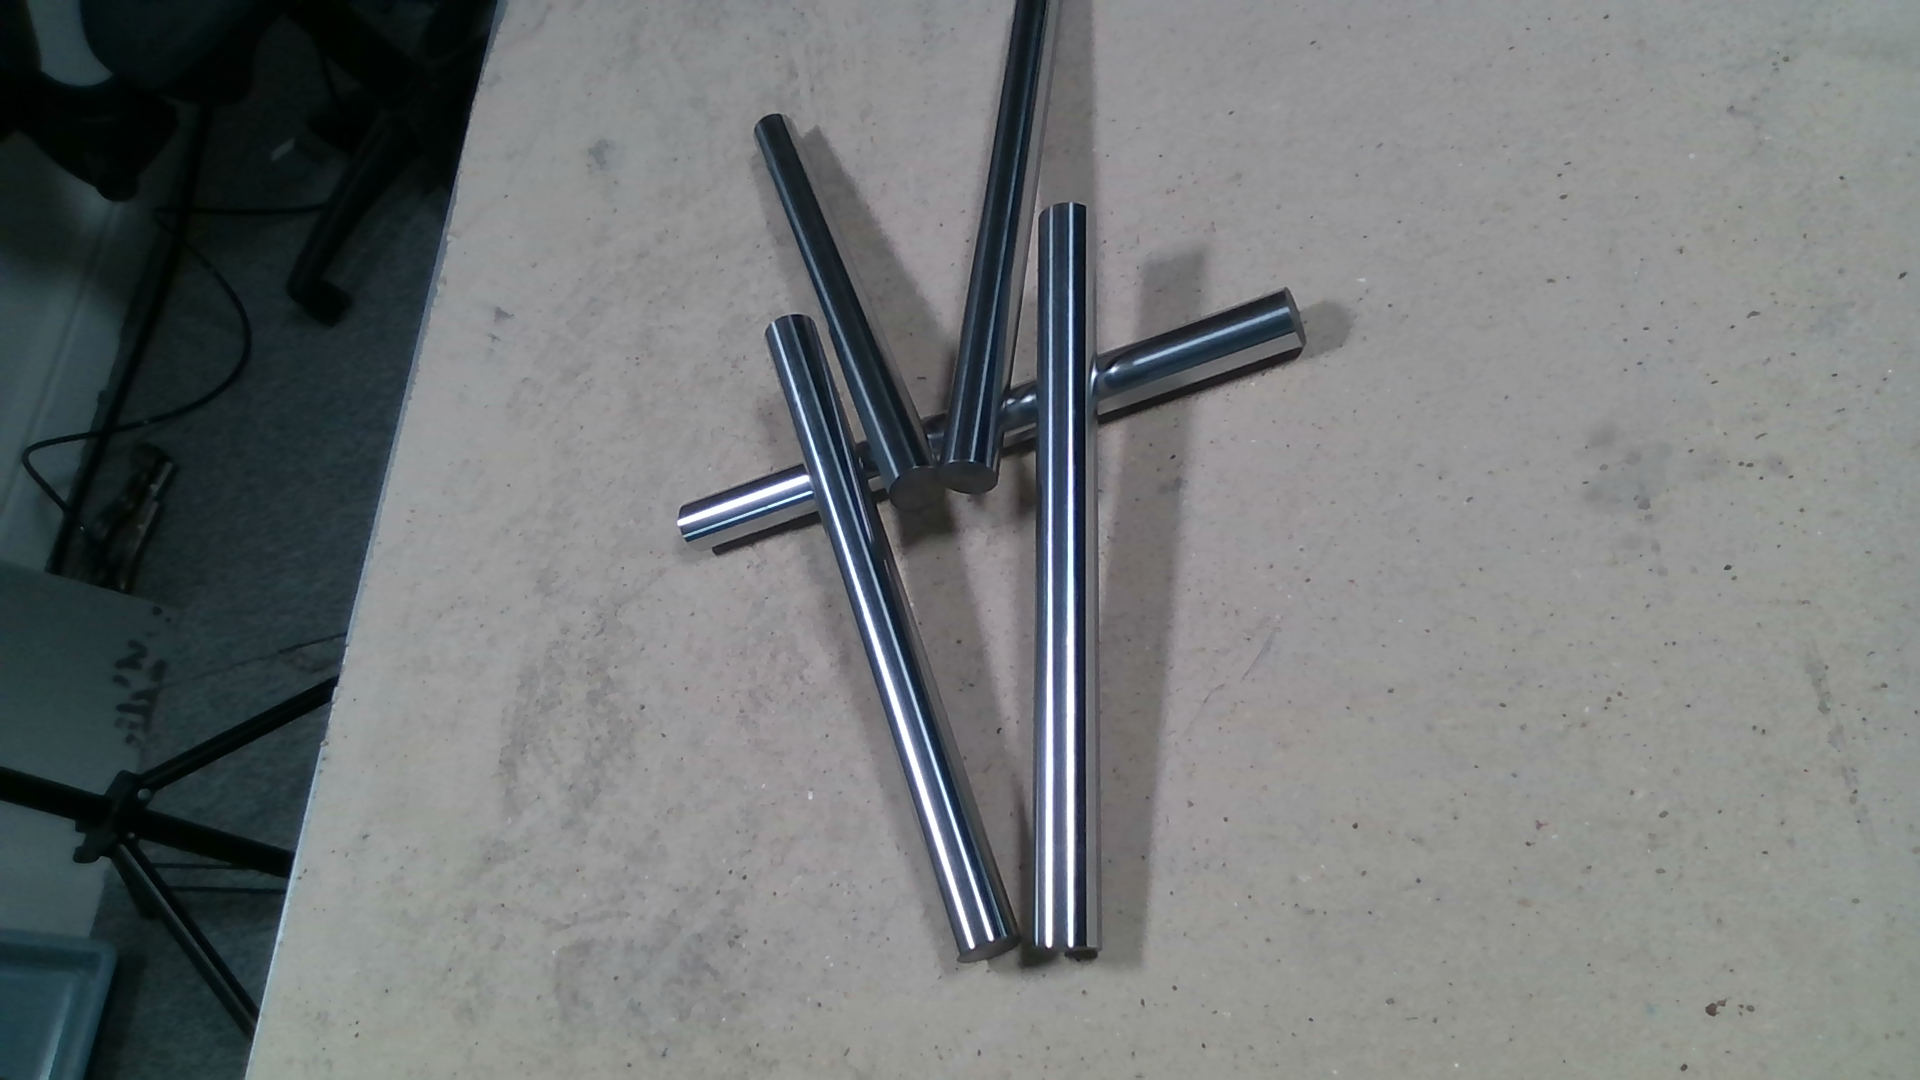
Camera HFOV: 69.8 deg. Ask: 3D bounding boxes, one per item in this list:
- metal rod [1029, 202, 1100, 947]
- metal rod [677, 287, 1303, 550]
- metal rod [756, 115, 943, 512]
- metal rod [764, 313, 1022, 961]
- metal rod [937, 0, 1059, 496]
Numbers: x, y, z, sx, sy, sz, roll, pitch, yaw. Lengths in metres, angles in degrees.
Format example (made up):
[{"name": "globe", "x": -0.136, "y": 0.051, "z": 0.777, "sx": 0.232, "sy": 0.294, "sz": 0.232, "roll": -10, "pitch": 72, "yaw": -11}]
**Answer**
[{"name": "metal rod", "x": 0.041, "y": 0.003, "z": 0.538, "sx": 0.025, "sy": 0.025, "sz": 0.299, "roll": -9, "pitch": 67, "yaw": 28}, {"name": "metal rod", "x": 0.002, "y": -0.048, "z": 0.610, "sx": 0.300, "sy": 0.025, "sz": 0.025, "roll": -18, "pitch": 57, "yaw": 23}, {"name": "metal rod", "x": -0.060, "y": -0.124, "z": 0.670, "sx": 0.025, "sy": 0.025, "sz": 0.299, "roll": -34, "pitch": 47, "yaw": 12}, {"name": "metal rod", "x": -0.035, "y": 0.025, "z": 0.573, "sx": 0.025, "sy": 0.025, "sz": 0.299, "roll": -29, "pitch": 60, "yaw": 16}, {"name": "metal rod", "x": 0.022, "y": -0.152, "z": 0.635, "sx": 0.025, "sy": 0.025, "sz": 0.299, "roll": -9, "pitch": 55, "yaw": 28}]
